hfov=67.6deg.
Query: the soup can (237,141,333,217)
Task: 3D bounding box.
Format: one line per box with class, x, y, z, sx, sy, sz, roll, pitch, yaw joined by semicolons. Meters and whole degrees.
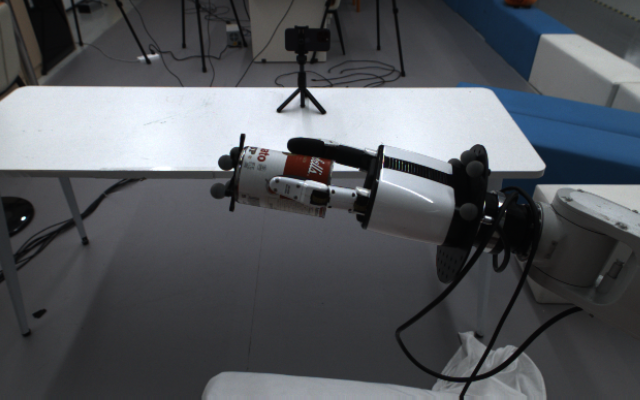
soup can;-0.037;-0.020;0.550;0.101;0.067;0.067;10;35;0
